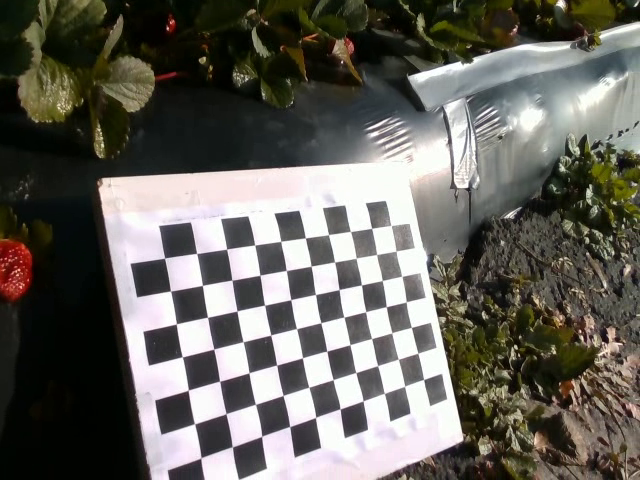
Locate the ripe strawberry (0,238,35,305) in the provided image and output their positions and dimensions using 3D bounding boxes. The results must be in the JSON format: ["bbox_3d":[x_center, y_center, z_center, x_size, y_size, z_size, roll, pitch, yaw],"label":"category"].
[{"bbox_3d":[-0.071,0.006,0.134,0.015,0.015,0.023,1,28,-34],"label":"ripe strawberry"}]
